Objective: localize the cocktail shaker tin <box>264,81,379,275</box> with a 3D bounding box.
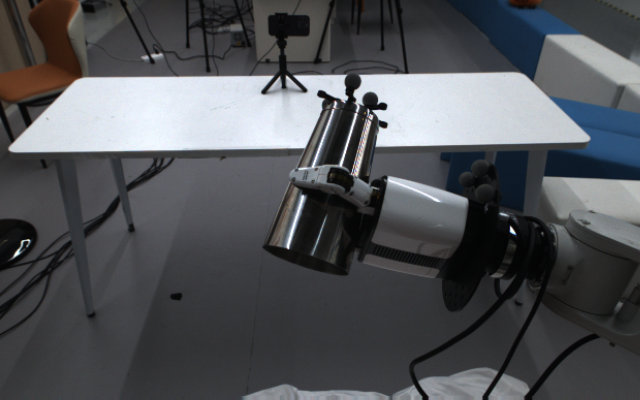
[{"bbox_3d":[0.011,-0.014,0.514,0.093,0.093,0.170,13,74,16],"label":"cocktail shaker tin"}]
